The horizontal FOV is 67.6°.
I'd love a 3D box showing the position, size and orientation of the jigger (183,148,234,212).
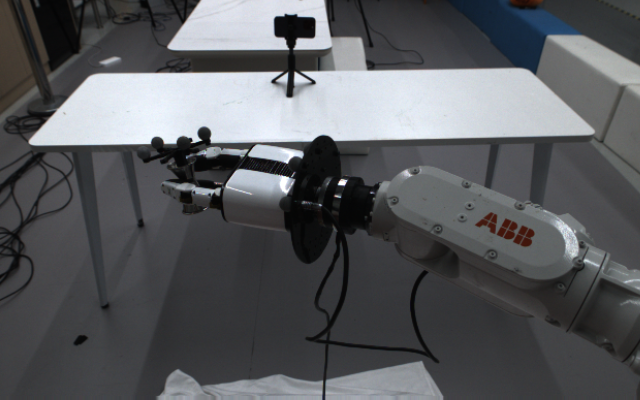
[{"bbox_3d":[-0.175,-0.019,0.658,0.043,0.071,0.043,-12,25,5],"label":"jigger"}]
